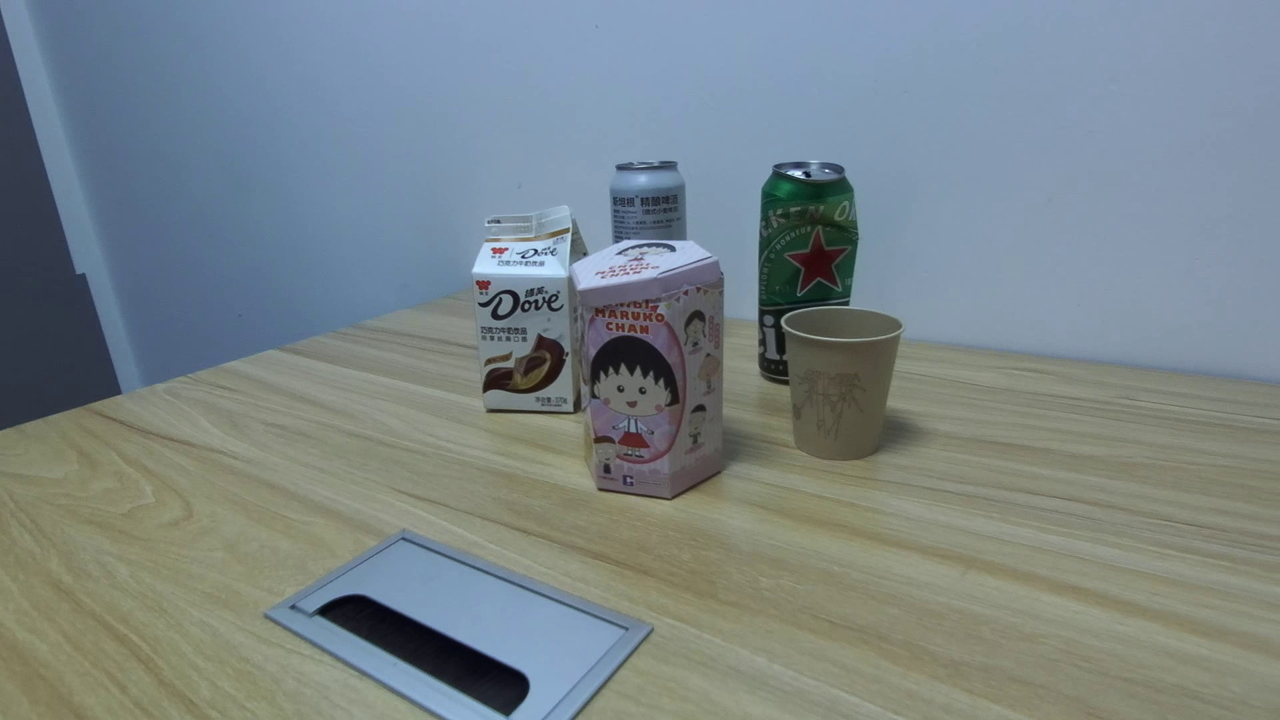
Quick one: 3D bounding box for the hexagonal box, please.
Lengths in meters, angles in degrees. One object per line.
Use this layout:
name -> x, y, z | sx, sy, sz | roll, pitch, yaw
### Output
hexagonal box -> 0.006, 0.003, 0.423 | 0.092, 0.135, 0.085 | 5, 21, 20

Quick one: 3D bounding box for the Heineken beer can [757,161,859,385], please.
Heineken beer can -> 0.127, -0.065, 0.551 | 0.068, 0.168, 0.069 | 10, 24, 26

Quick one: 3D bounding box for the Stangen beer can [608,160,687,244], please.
Stangen beer can -> 0.010, -0.091, 0.636 | 0.067, 0.171, 0.067 | -3, 18, 1

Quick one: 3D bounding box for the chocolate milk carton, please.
chocolate milk carton -> -0.078, -0.041, 0.541 | 0.075, 0.148, 0.074 | 2, 19, 11
